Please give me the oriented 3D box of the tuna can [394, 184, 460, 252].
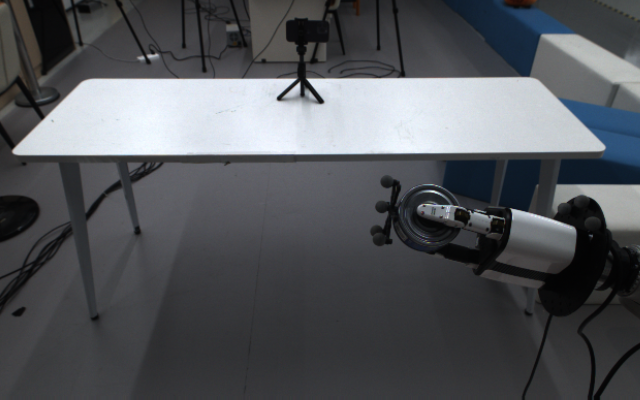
[{"bbox_3d":[0.142,0.021,0.634,0.085,0.034,0.085,2,73,-6],"label":"tuna can"}]
